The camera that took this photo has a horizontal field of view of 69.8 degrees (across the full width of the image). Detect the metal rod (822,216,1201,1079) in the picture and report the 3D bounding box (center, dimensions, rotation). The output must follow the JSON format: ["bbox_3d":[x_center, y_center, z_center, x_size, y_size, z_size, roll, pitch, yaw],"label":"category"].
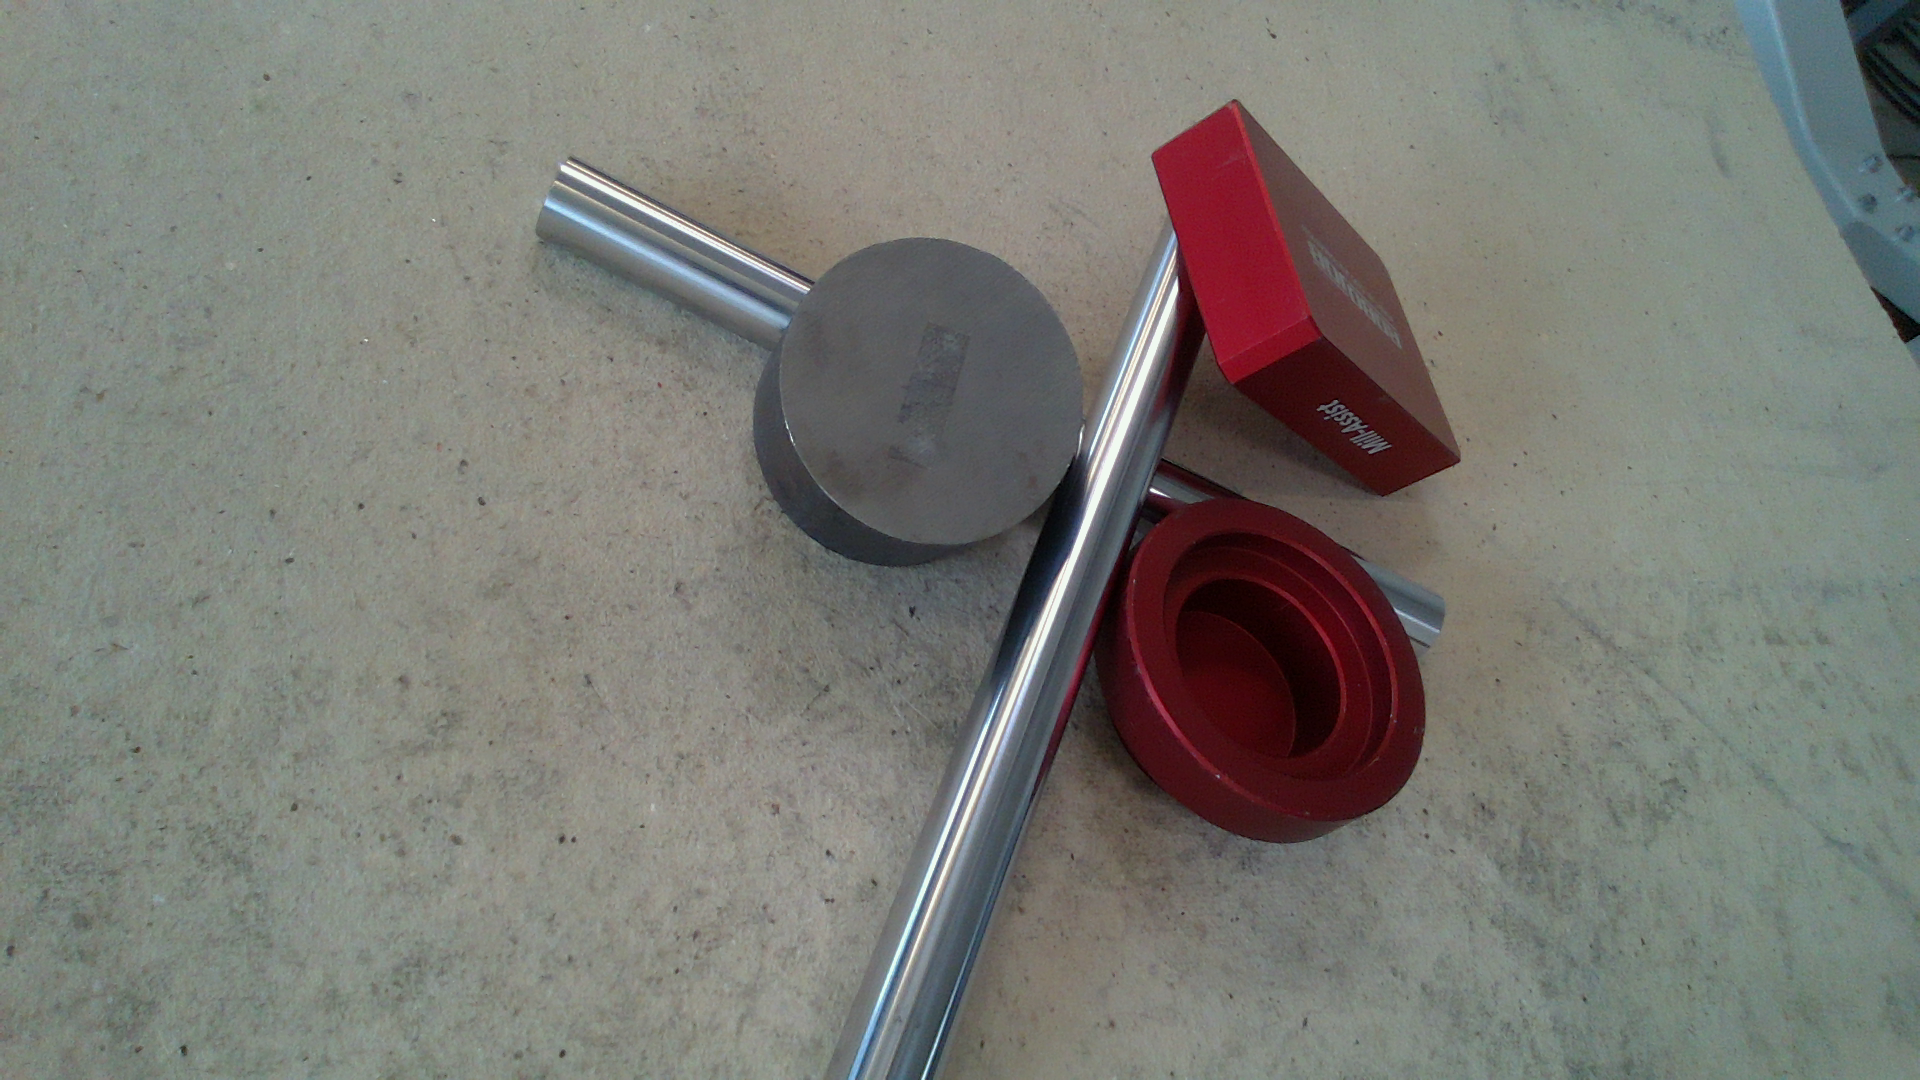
[{"bbox_3d":[0.028,0.014,0.374,0.025,0.025,0.301,29,58,-10],"label":"metal rod"}]

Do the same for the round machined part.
[{"bbox_3d":[0.081,0.040,0.398,0.098,0.042,0.098,14,56,-21],"label":"round machined part"}]

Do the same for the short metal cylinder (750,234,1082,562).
[{"bbox_3d":[-0.013,-0.035,0.371,0.080,0.050,0.080,2,81,-16],"label":"short metal cylinder"}]

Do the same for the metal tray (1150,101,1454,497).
[{"bbox_3d":[0.117,-0.076,0.460,0.130,0.030,0.090,23,47,-50],"label":"metal tray"}]

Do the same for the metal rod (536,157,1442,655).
[{"bbox_3d":[0.018,-0.034,0.421,0.300,0.025,0.025,25,53,-13],"label":"metal rod"}]
